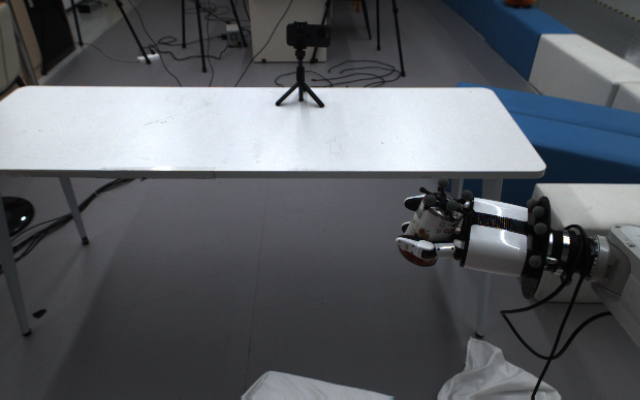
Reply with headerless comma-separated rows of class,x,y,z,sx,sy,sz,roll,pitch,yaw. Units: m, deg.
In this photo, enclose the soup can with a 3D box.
soup can,0.175,0.046,0.766,0.067,0.101,0.067,14,35,-10
